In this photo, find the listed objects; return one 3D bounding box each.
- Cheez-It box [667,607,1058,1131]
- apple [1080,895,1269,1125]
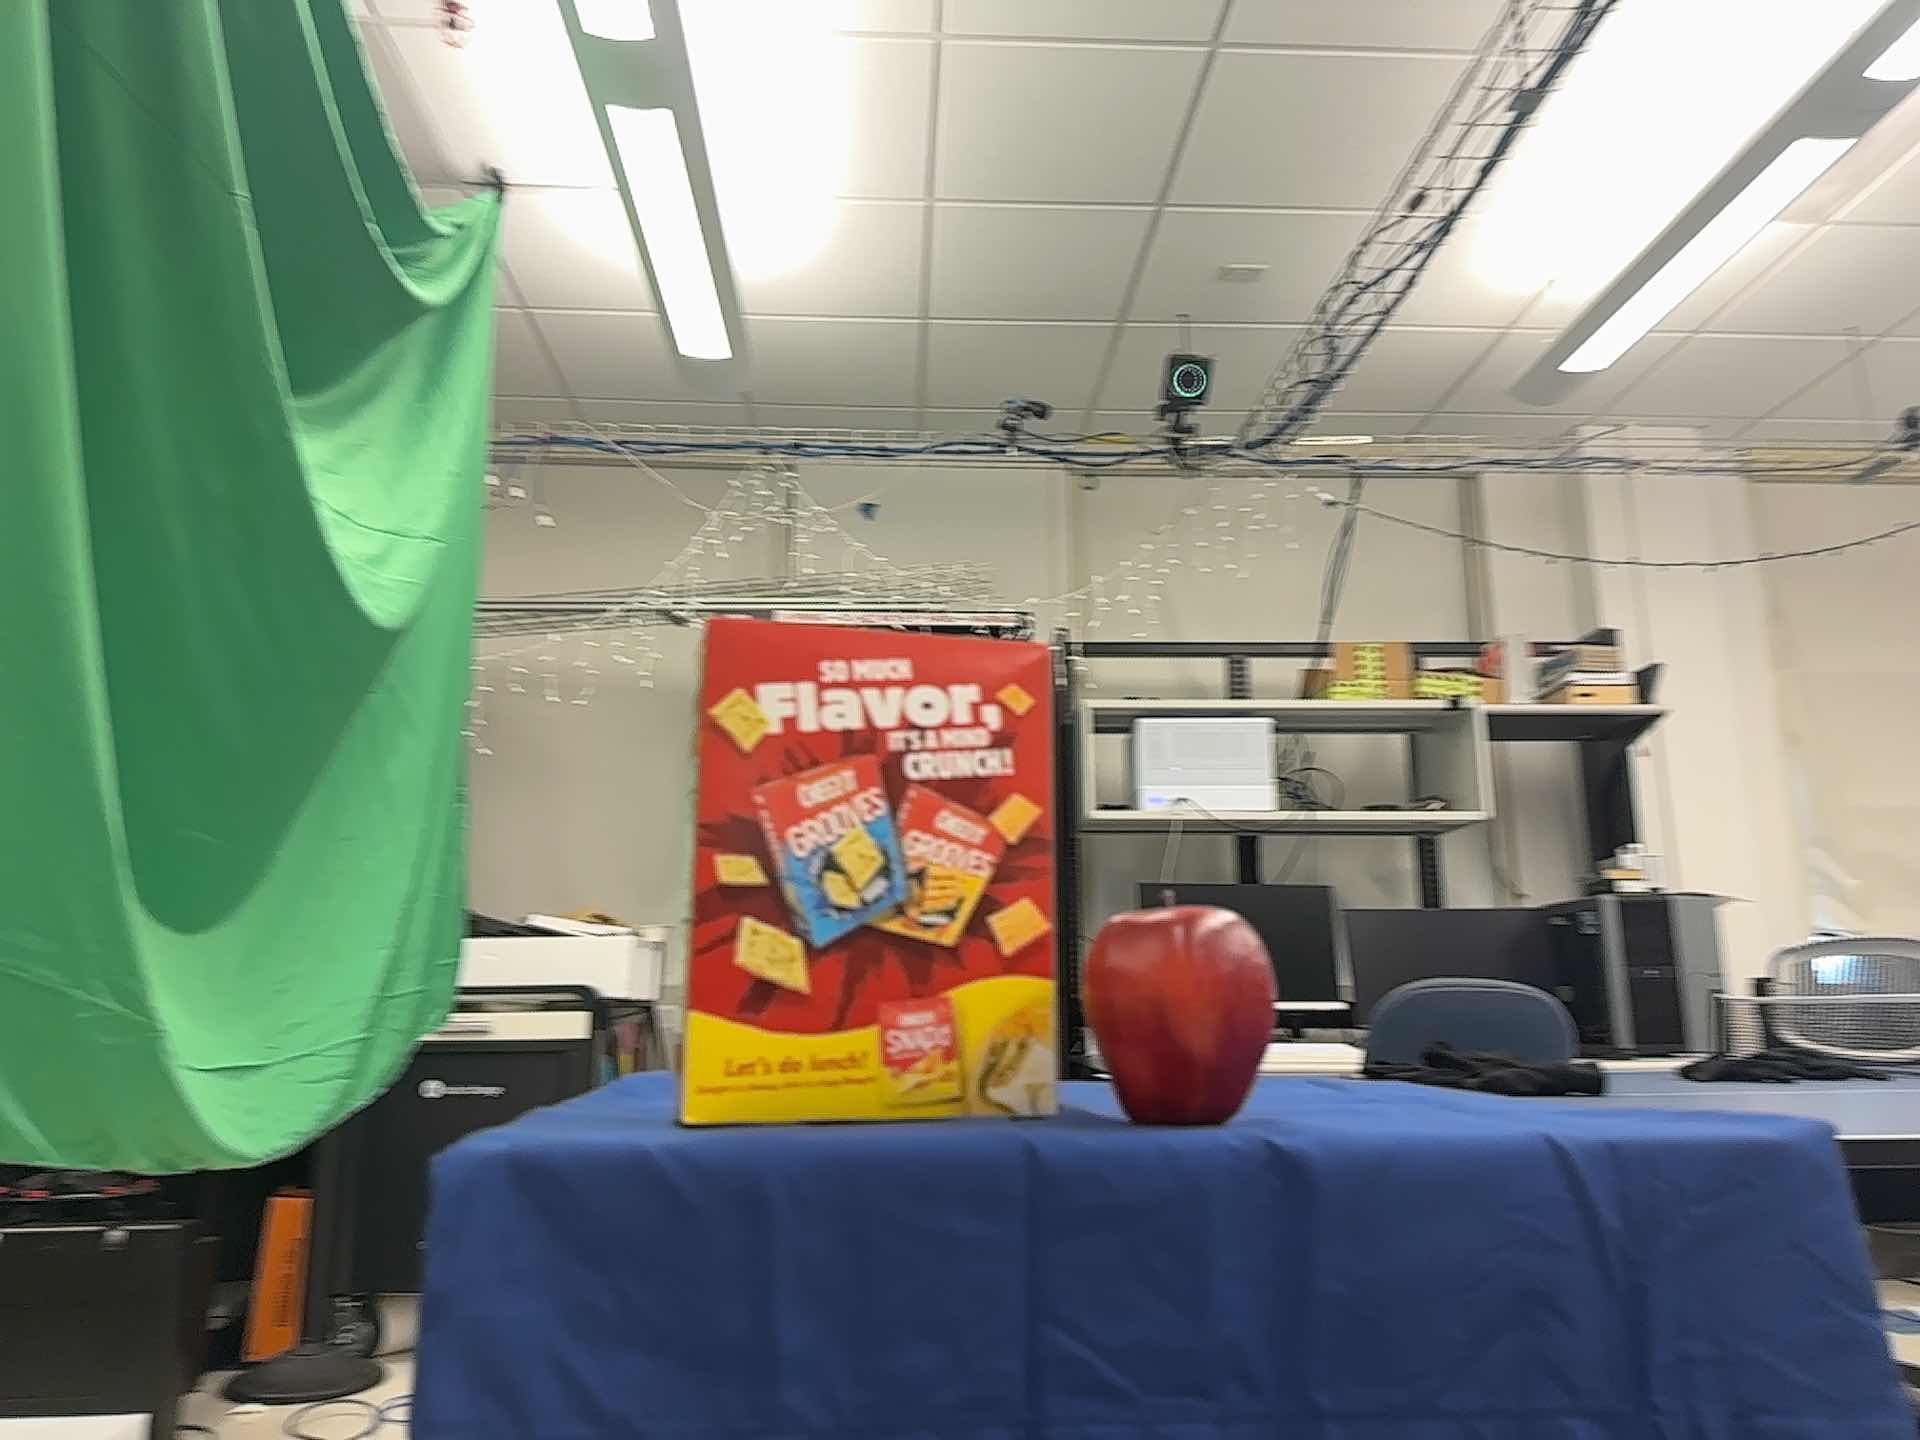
[{"bbox_3d":[-0.043,0.068,0.610,0.159,0.214,0.062,4,-12,-18],"label":"Cheez-It box"},{"bbox_3d":[0.090,0.120,0.563,0.079,0.093,0.079,-1,-10,0],"label":"apple"}]
